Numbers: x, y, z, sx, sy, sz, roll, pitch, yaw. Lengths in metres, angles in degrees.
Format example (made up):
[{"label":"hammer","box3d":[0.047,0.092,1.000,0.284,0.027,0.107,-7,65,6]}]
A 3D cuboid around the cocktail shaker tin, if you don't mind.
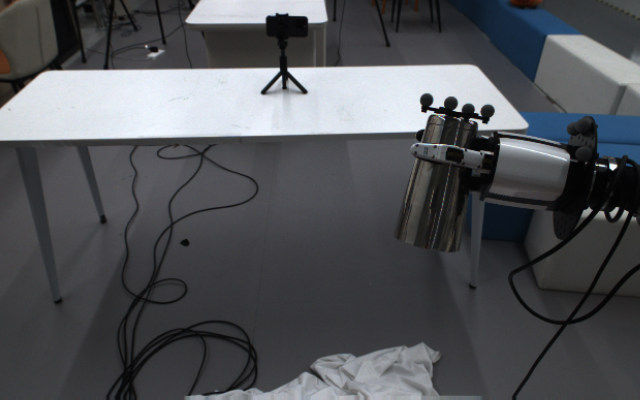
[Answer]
[{"label":"cocktail shaker tin","box3d":[0.166,-0.028,0.658,0.093,0.170,0.093,10,9,-2]}]
